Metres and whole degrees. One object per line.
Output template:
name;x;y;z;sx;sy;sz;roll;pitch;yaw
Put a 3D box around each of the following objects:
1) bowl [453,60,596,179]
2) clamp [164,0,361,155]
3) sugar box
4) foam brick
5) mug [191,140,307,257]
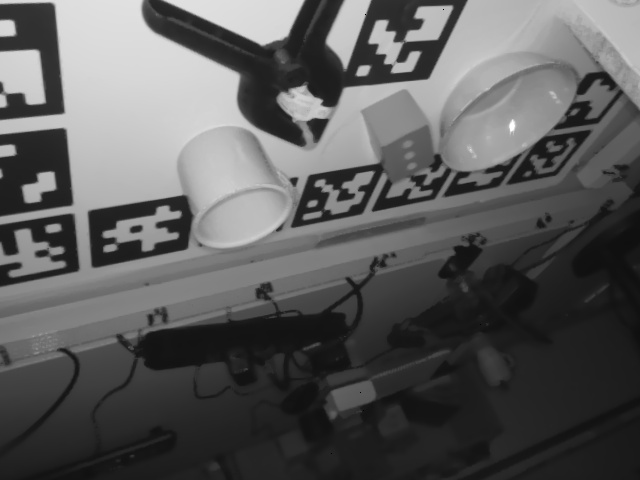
bowl;0.203;-0.136;0.730;0.163;0.055;0.160;-18;149;-10
clamp;-0.018;-0.132;0.576;0.166;0.036;0.202;-26;149;-3
sugar box;0.316;-0.180;0.625;0.093;0.176;0.045;-24;148;1
foam brick;0.088;-0.103;0.711;0.053;0.051;0.078;-27;149;2
mug;-0.064;-0.037;0.654;0.119;0.081;0.092;9;136;-40
